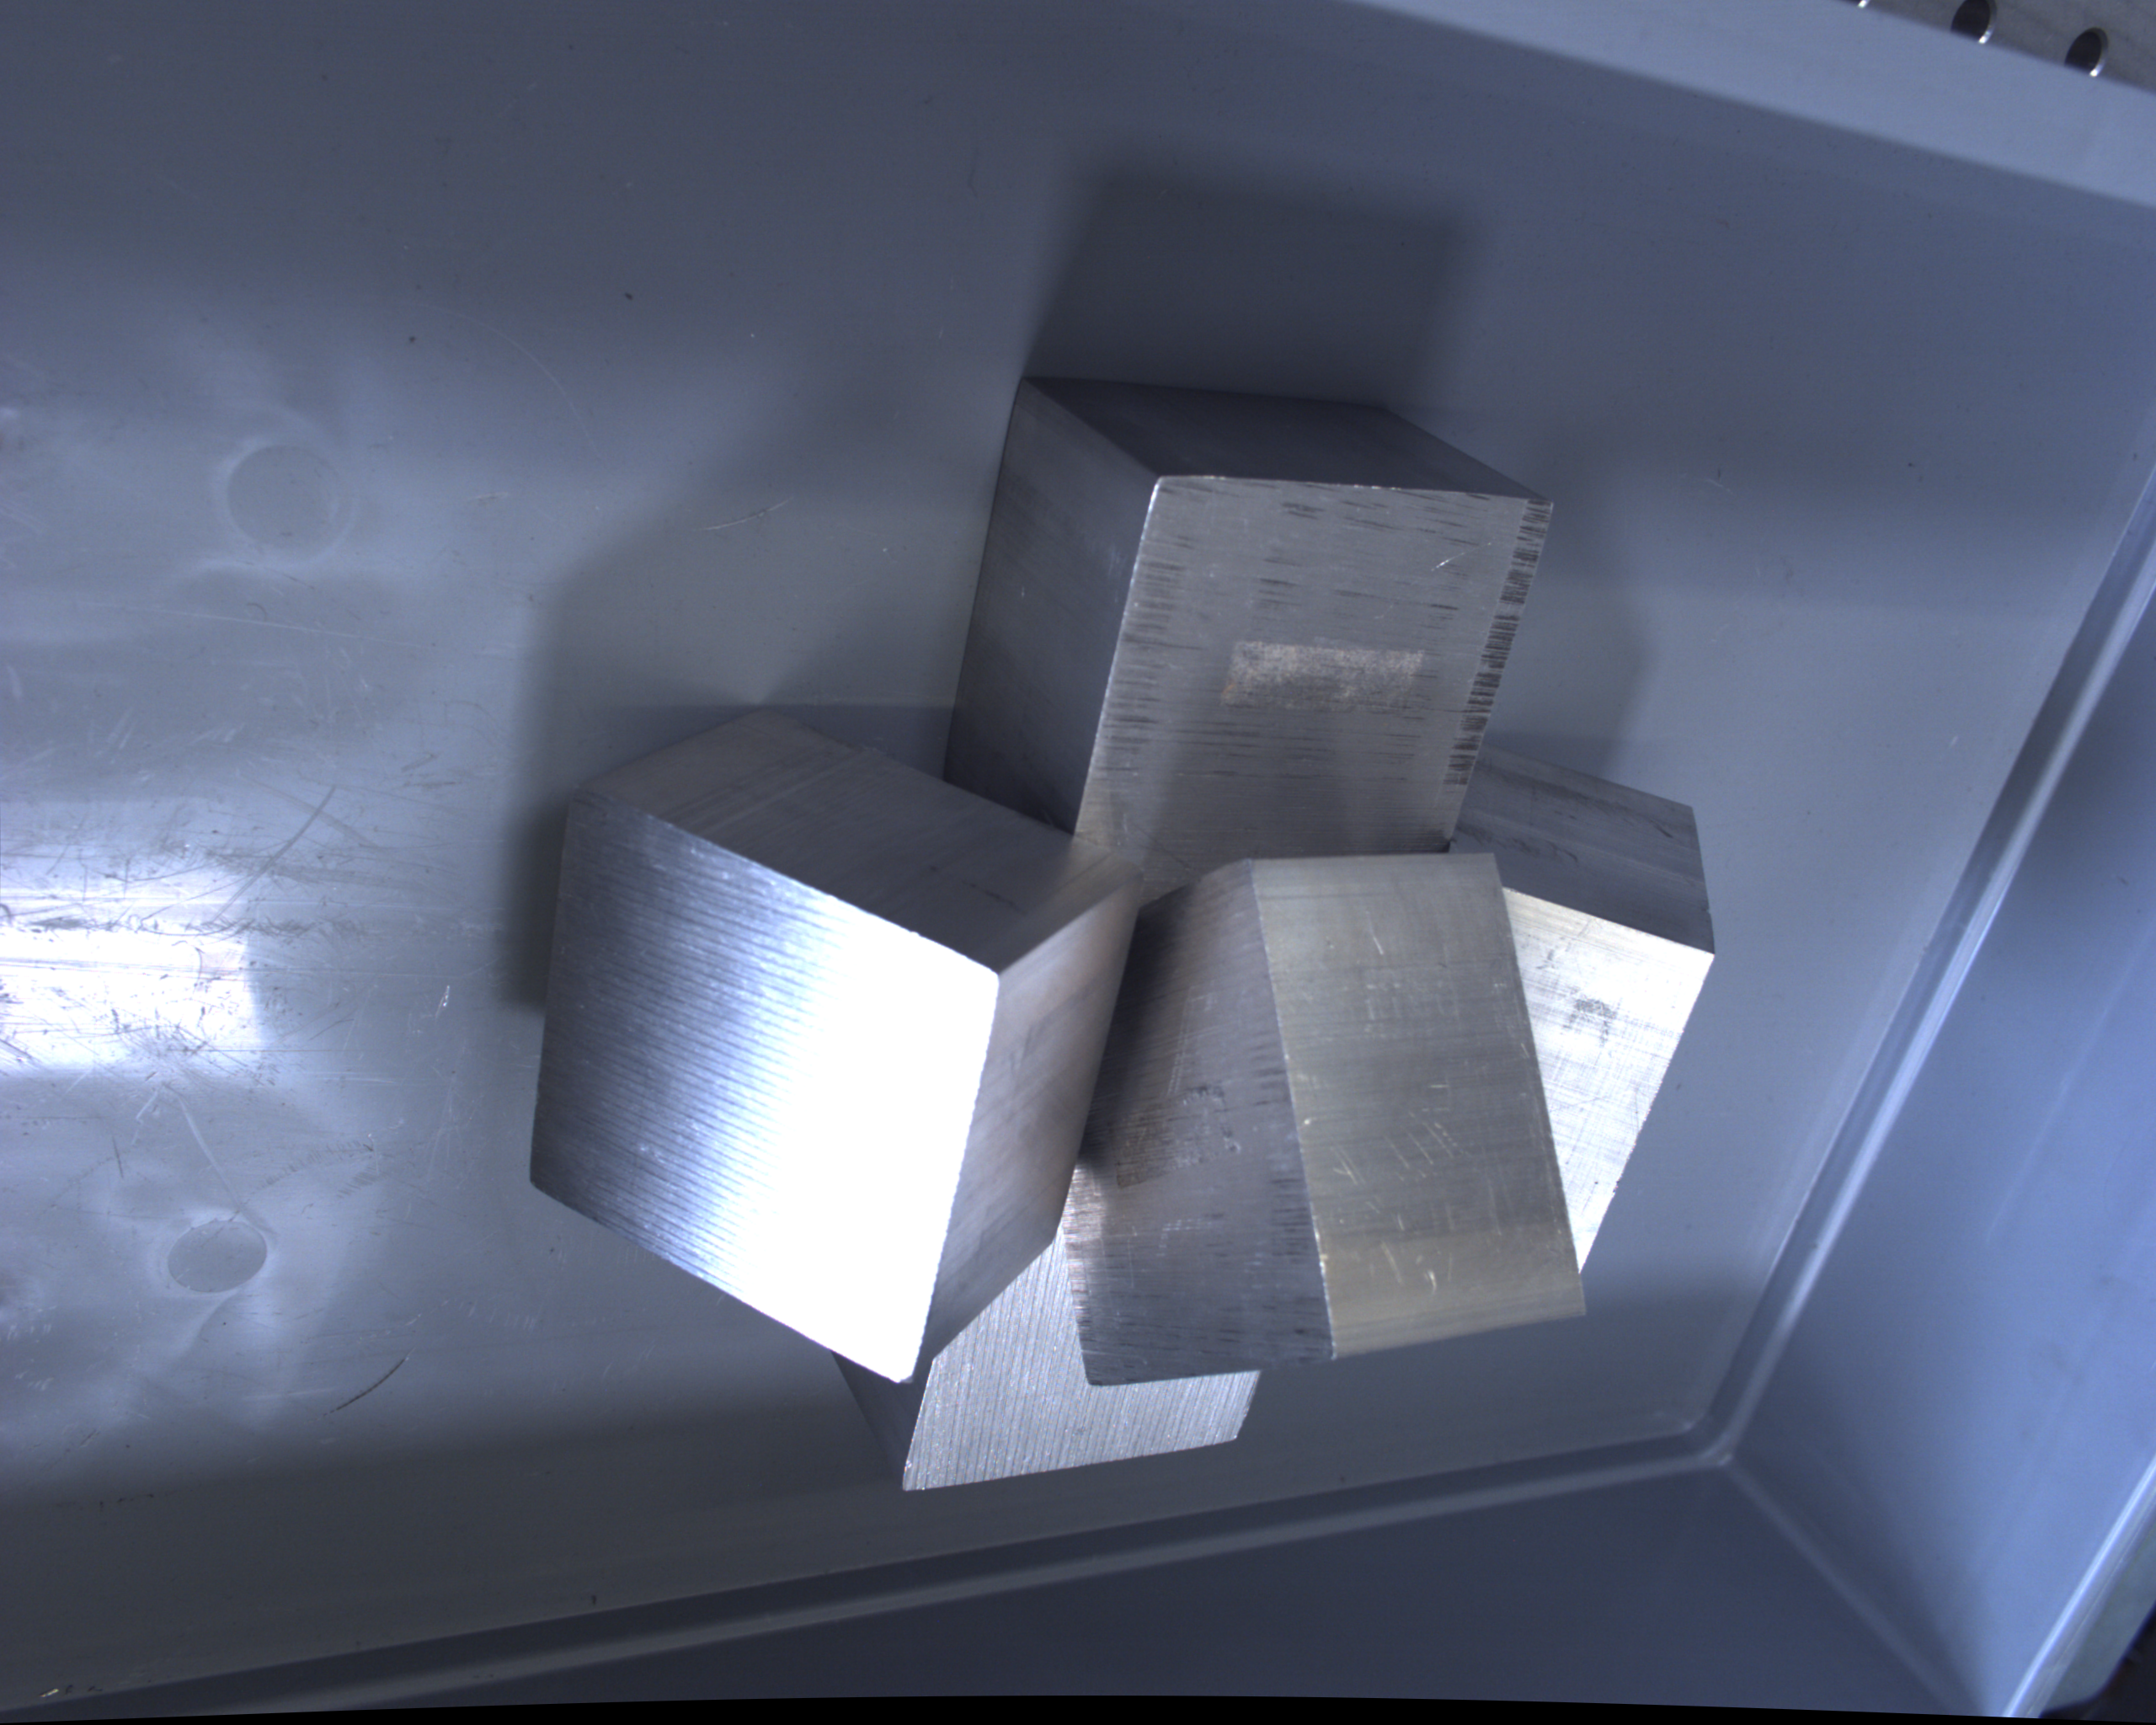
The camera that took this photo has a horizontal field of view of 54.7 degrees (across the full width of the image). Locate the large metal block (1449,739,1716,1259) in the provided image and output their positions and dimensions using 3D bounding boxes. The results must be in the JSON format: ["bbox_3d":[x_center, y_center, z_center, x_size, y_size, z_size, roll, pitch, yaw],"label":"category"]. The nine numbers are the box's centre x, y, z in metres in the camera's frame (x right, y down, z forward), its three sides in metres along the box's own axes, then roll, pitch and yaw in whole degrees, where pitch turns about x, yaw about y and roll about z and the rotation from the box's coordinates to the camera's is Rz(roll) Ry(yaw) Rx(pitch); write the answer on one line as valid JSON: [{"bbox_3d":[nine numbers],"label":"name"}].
[{"bbox_3d":[0.090,0.028,0.429,0.050,0.080,0.079,18,115,6],"label":"large metal block"}]

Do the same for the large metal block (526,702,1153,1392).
[{"bbox_3d":[-0.042,0.029,0.356,0.050,0.080,0.079,-33,142,-56],"label":"large metal block"}]

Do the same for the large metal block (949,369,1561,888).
[{"bbox_3d":[0.029,-0.040,0.379,0.081,0.050,0.079,-2,119,-28],"label":"large metal block"}]

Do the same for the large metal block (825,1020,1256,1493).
[{"bbox_3d":[-0.002,0.079,0.439,0.081,0.050,0.079,1,118,-29],"label":"large metal block"}]

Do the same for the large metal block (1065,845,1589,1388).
[{"bbox_3d":[0.036,0.046,0.368,0.050,0.080,0.080,-1,75,-29],"label":"large metal block"}]
